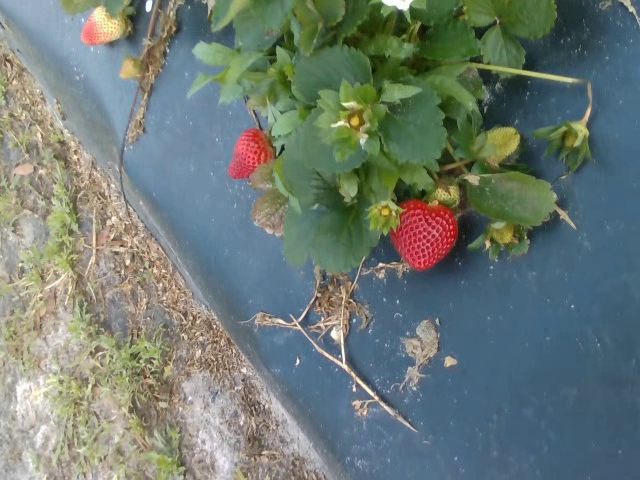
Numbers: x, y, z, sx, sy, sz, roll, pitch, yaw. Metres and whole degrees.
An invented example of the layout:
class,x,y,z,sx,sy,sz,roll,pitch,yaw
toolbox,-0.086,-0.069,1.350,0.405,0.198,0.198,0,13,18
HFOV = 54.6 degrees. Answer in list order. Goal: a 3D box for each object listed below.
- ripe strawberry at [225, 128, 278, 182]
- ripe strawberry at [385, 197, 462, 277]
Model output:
class,x,y,z,sx,sy,sz,roll,pitch,yaw
ripe strawberry,-0.053,-0.065,0.483,0.050,0.043,0.042,-43,-24,22
ripe strawberry,0.062,-0.001,0.387,0.046,0.046,0.043,16,-31,-25
